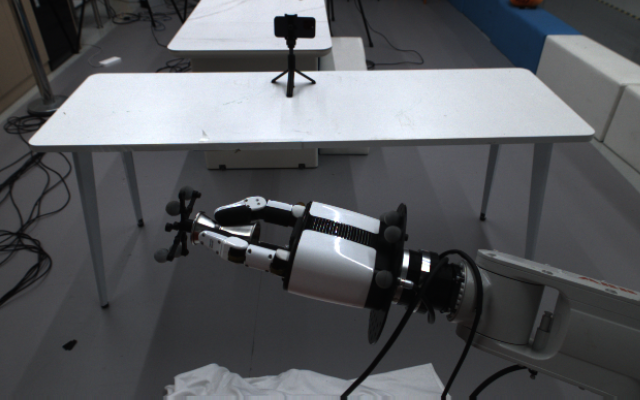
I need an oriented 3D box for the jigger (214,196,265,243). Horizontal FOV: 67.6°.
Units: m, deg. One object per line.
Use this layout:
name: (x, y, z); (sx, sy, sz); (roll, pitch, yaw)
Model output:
jigger: (-0.099, 0.036, 0.547); (0.071, 0.043, 0.043); (12, 36, 5)
